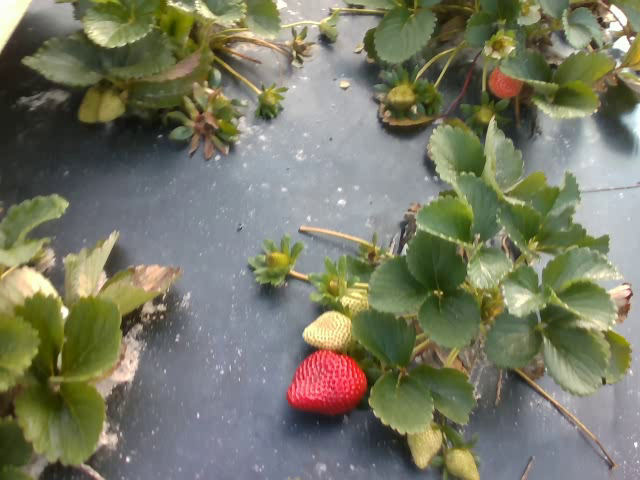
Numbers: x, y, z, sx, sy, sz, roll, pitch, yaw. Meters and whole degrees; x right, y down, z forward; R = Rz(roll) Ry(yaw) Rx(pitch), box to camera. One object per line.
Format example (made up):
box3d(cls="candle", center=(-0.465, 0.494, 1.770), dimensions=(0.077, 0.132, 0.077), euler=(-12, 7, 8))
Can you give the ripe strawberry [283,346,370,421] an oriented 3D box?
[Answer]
box3d(cls="ripe strawberry", center=(-0.004, 0.095, 0.399), dimensions=(0.055, 0.048, 0.051), euler=(-4, 14, -42))
